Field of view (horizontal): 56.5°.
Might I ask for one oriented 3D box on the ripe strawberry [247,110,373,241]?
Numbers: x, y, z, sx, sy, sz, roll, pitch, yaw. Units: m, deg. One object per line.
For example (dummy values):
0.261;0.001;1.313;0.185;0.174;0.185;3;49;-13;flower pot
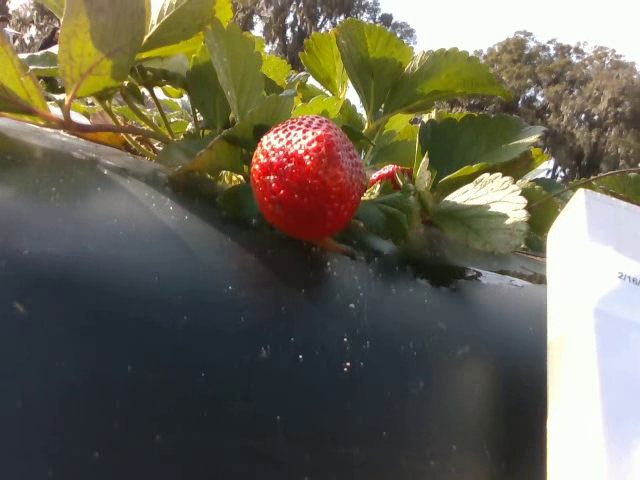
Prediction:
-0.001;-0.020;0.161;0.041;0.041;0.047;-10;-4;-10;ripe strawberry
